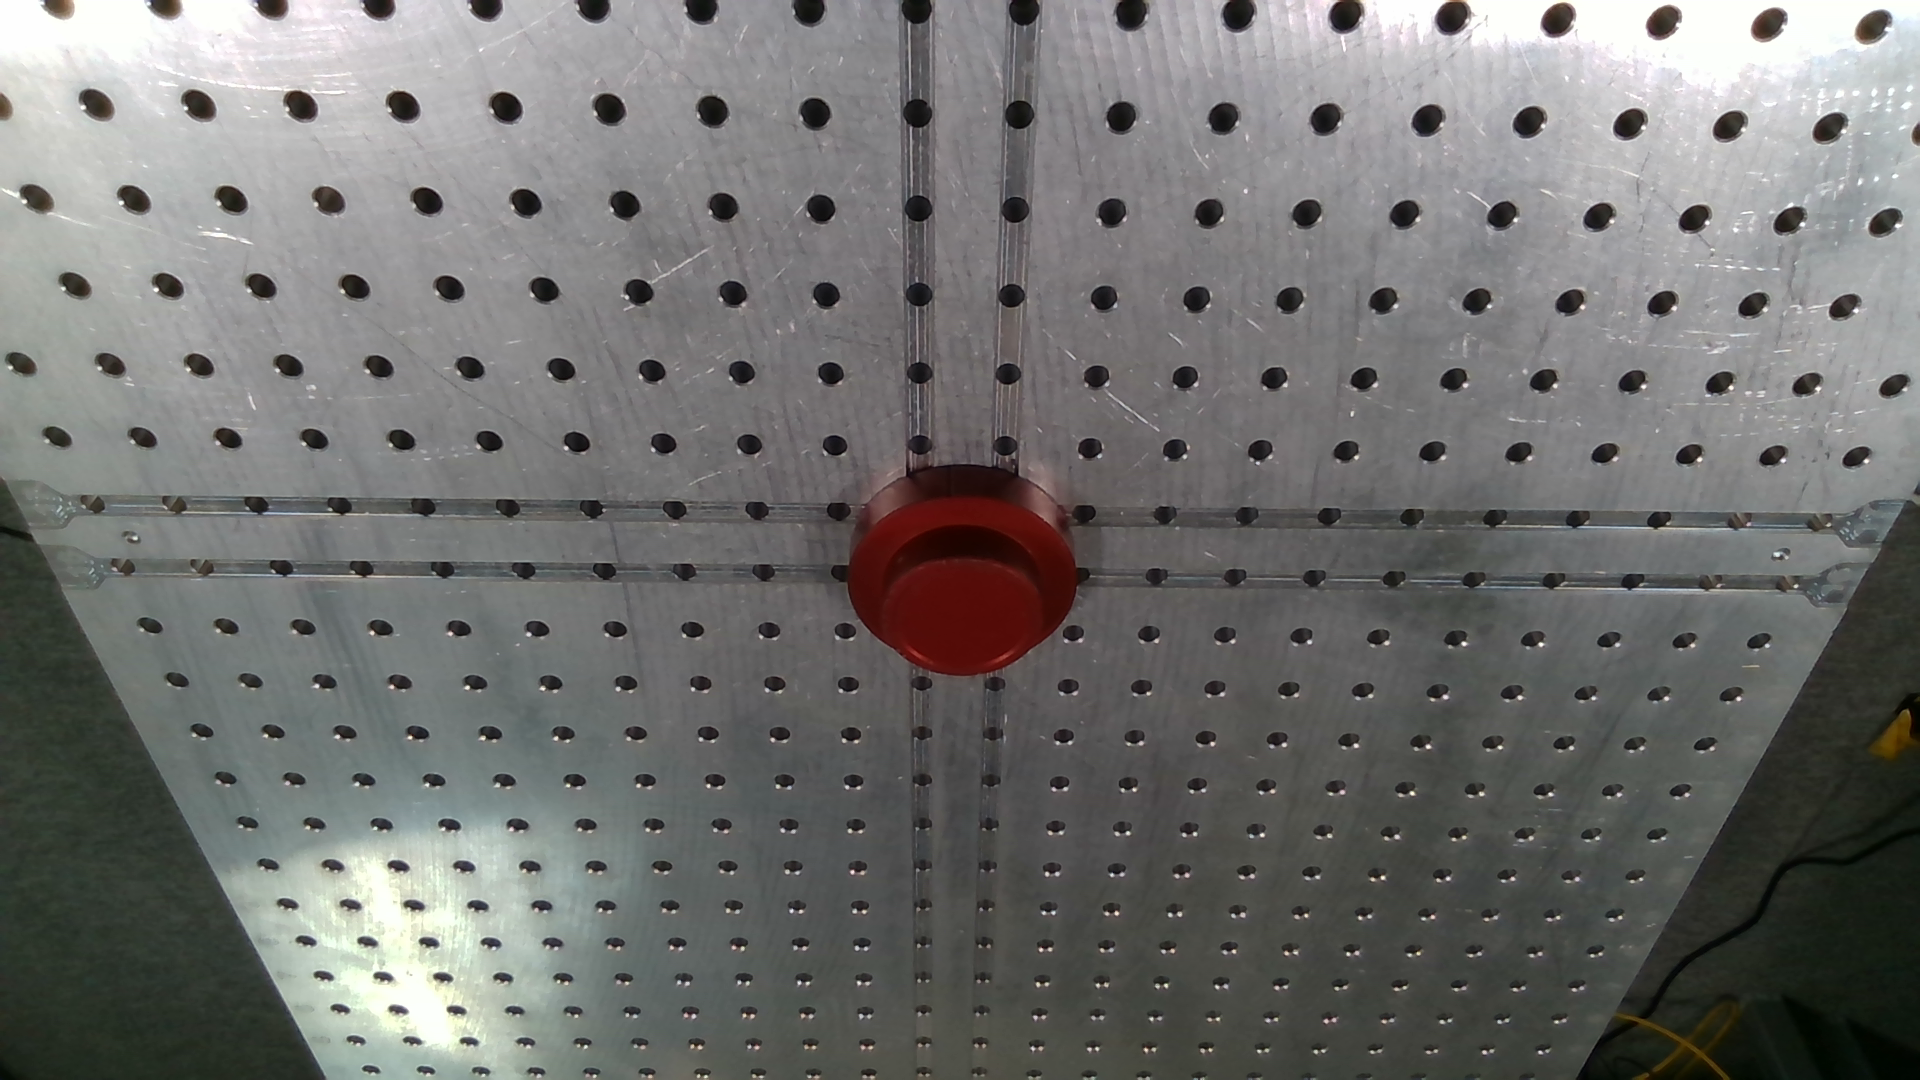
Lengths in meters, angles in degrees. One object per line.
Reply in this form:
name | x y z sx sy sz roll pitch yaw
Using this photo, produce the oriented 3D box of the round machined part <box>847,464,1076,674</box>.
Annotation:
round machined part | 0.001 0.019 0.587 0.098 0.042 0.098 0 130 0
